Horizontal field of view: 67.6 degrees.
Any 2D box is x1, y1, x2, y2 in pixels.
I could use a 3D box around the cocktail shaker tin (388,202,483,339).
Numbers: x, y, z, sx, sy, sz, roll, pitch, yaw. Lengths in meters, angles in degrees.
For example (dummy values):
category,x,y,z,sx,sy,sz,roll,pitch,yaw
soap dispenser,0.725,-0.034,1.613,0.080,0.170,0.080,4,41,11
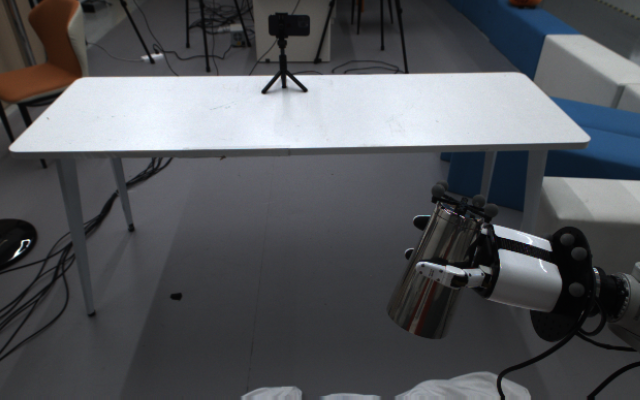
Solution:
category,x,y,z,sx,sy,sz,roll,pitch,yaw
cocktail shaker tin,0.162,0.091,0.664,0.093,0.170,0.093,15,17,-5
